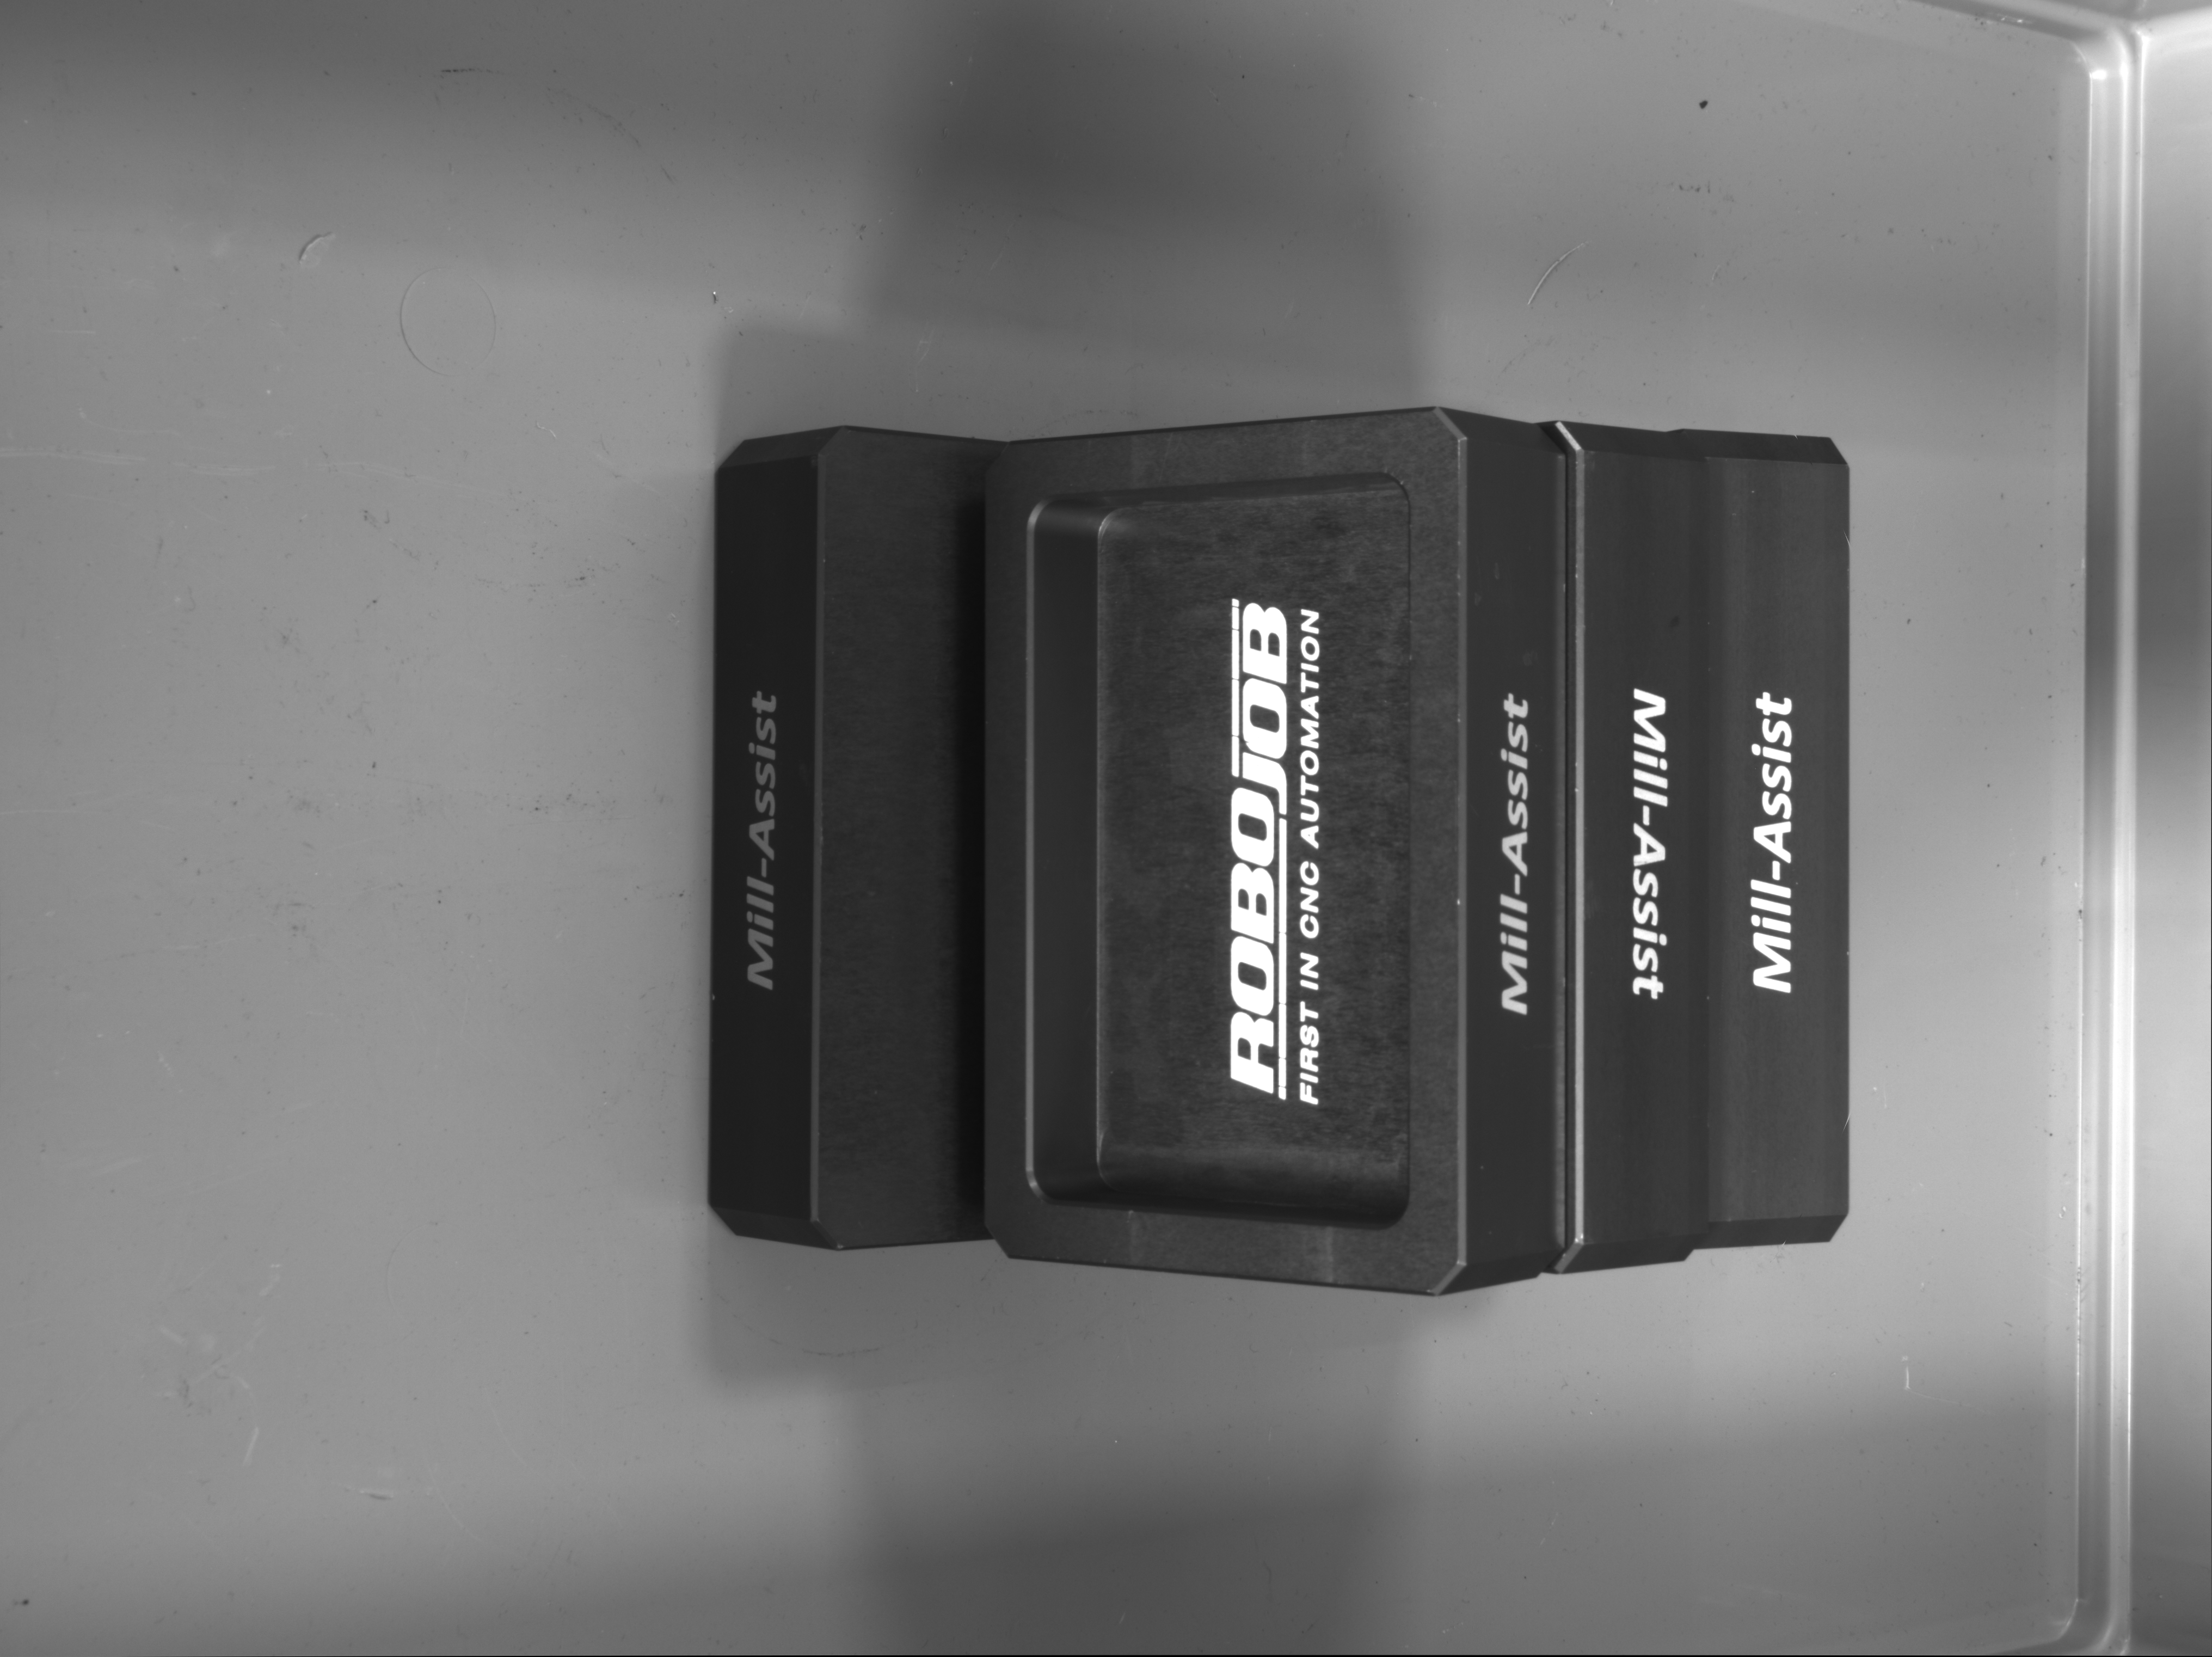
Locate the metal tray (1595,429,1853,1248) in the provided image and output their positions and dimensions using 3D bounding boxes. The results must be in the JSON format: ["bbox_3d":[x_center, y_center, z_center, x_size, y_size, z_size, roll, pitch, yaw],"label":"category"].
[{"bbox_3d":[0.088,0.002,0.623,0.030,0.090,0.130,0,90,-25],"label":"metal tray"}]

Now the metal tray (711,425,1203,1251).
[{"bbox_3d":[-0.020,0.002,0.613,0.090,0.030,0.130,1,89,-40],"label":"metal tray"}]

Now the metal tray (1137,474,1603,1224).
[{"bbox_3d":[0.050,0.004,0.672,0.090,0.030,0.130,1,89,-40],"label":"metal tray"}]

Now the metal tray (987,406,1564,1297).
[{"bbox_3d":[0.025,0.003,0.570,0.030,0.090,0.130,0,90,-52],"label":"metal tray"}]

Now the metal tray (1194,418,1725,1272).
[{"bbox_3d":[0.056,0.004,0.598,0.030,0.090,0.130,0,88,-40],"label":"metal tray"}]
